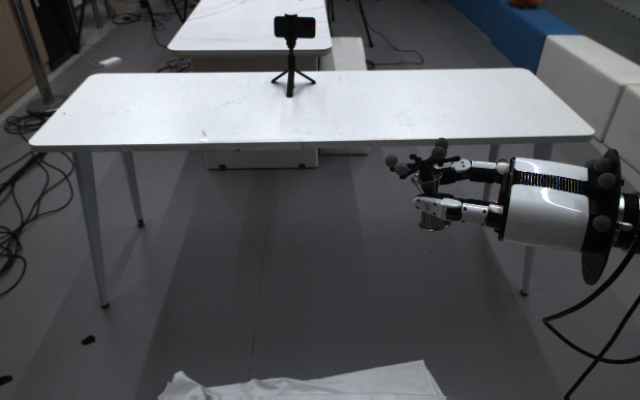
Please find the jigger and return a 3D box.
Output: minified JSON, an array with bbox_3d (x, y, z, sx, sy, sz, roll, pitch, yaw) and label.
[{"bbox_3d":[0.145,0.000,0.627,0.043,0.071,0.043,-14,21,6],"label":"jigger"}]
